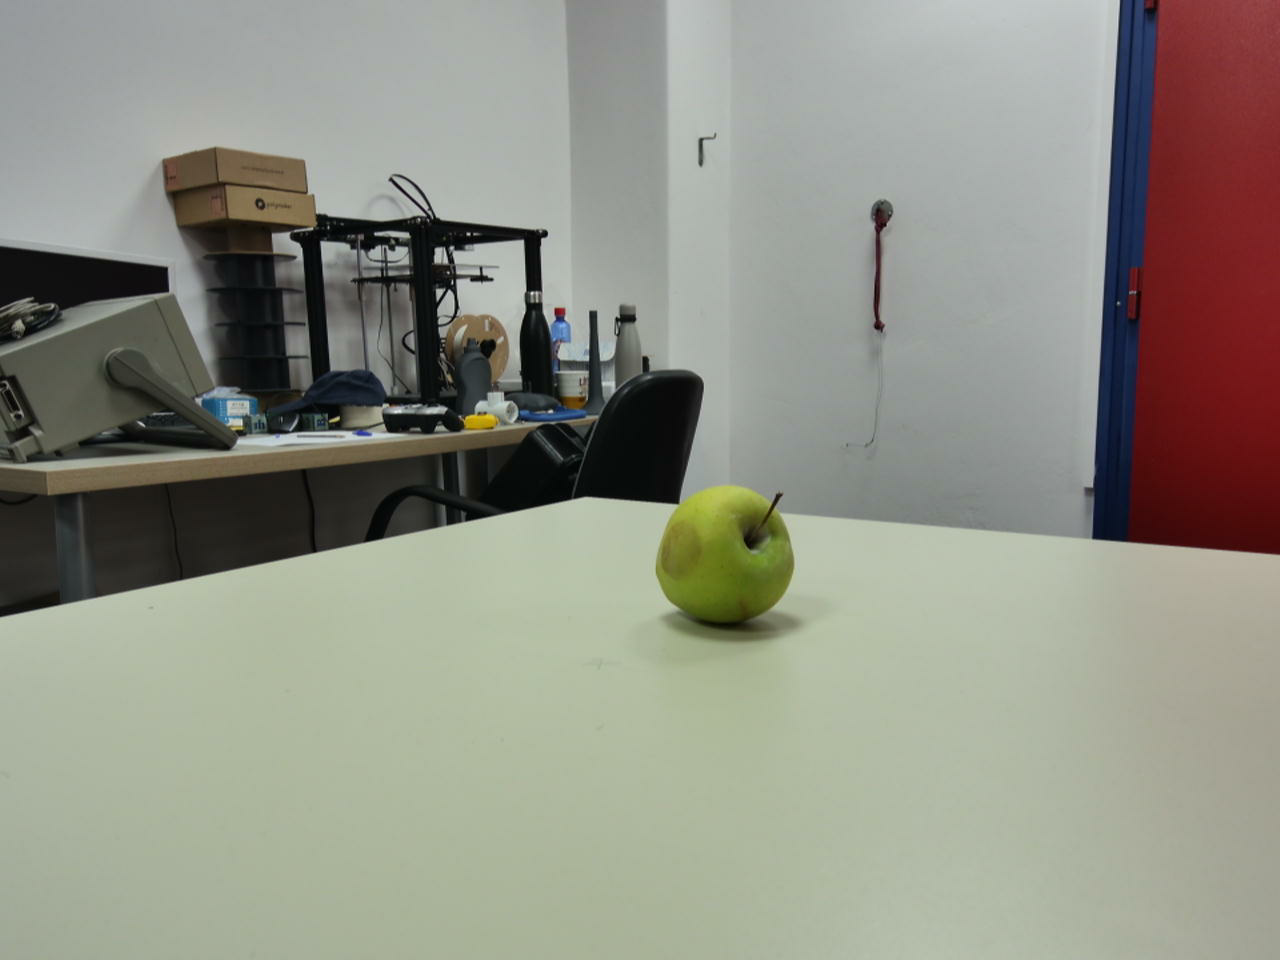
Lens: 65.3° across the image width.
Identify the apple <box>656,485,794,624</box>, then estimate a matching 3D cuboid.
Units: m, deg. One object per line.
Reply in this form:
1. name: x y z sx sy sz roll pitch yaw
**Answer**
1. apple: 0.047 0.041 0.554 0.072 0.075 0.077 -1 5 -10
